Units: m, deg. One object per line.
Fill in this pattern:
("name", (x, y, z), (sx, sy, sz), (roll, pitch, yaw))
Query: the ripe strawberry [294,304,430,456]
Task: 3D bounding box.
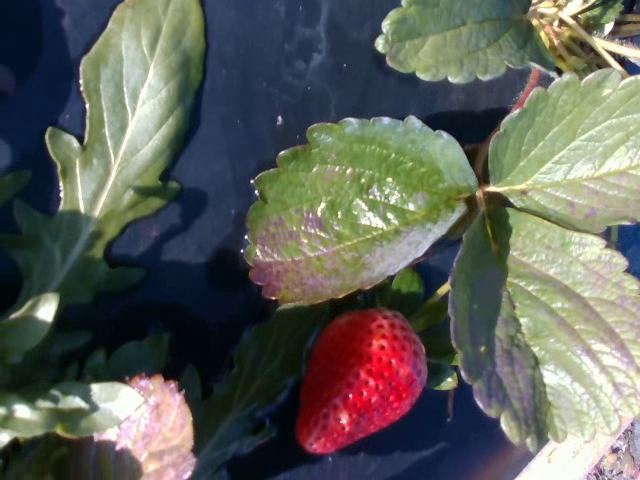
("ripe strawberry", (0.007, 0.037, 0.147), (0.036, 0.044, 0.053), (40, 42, 18))
